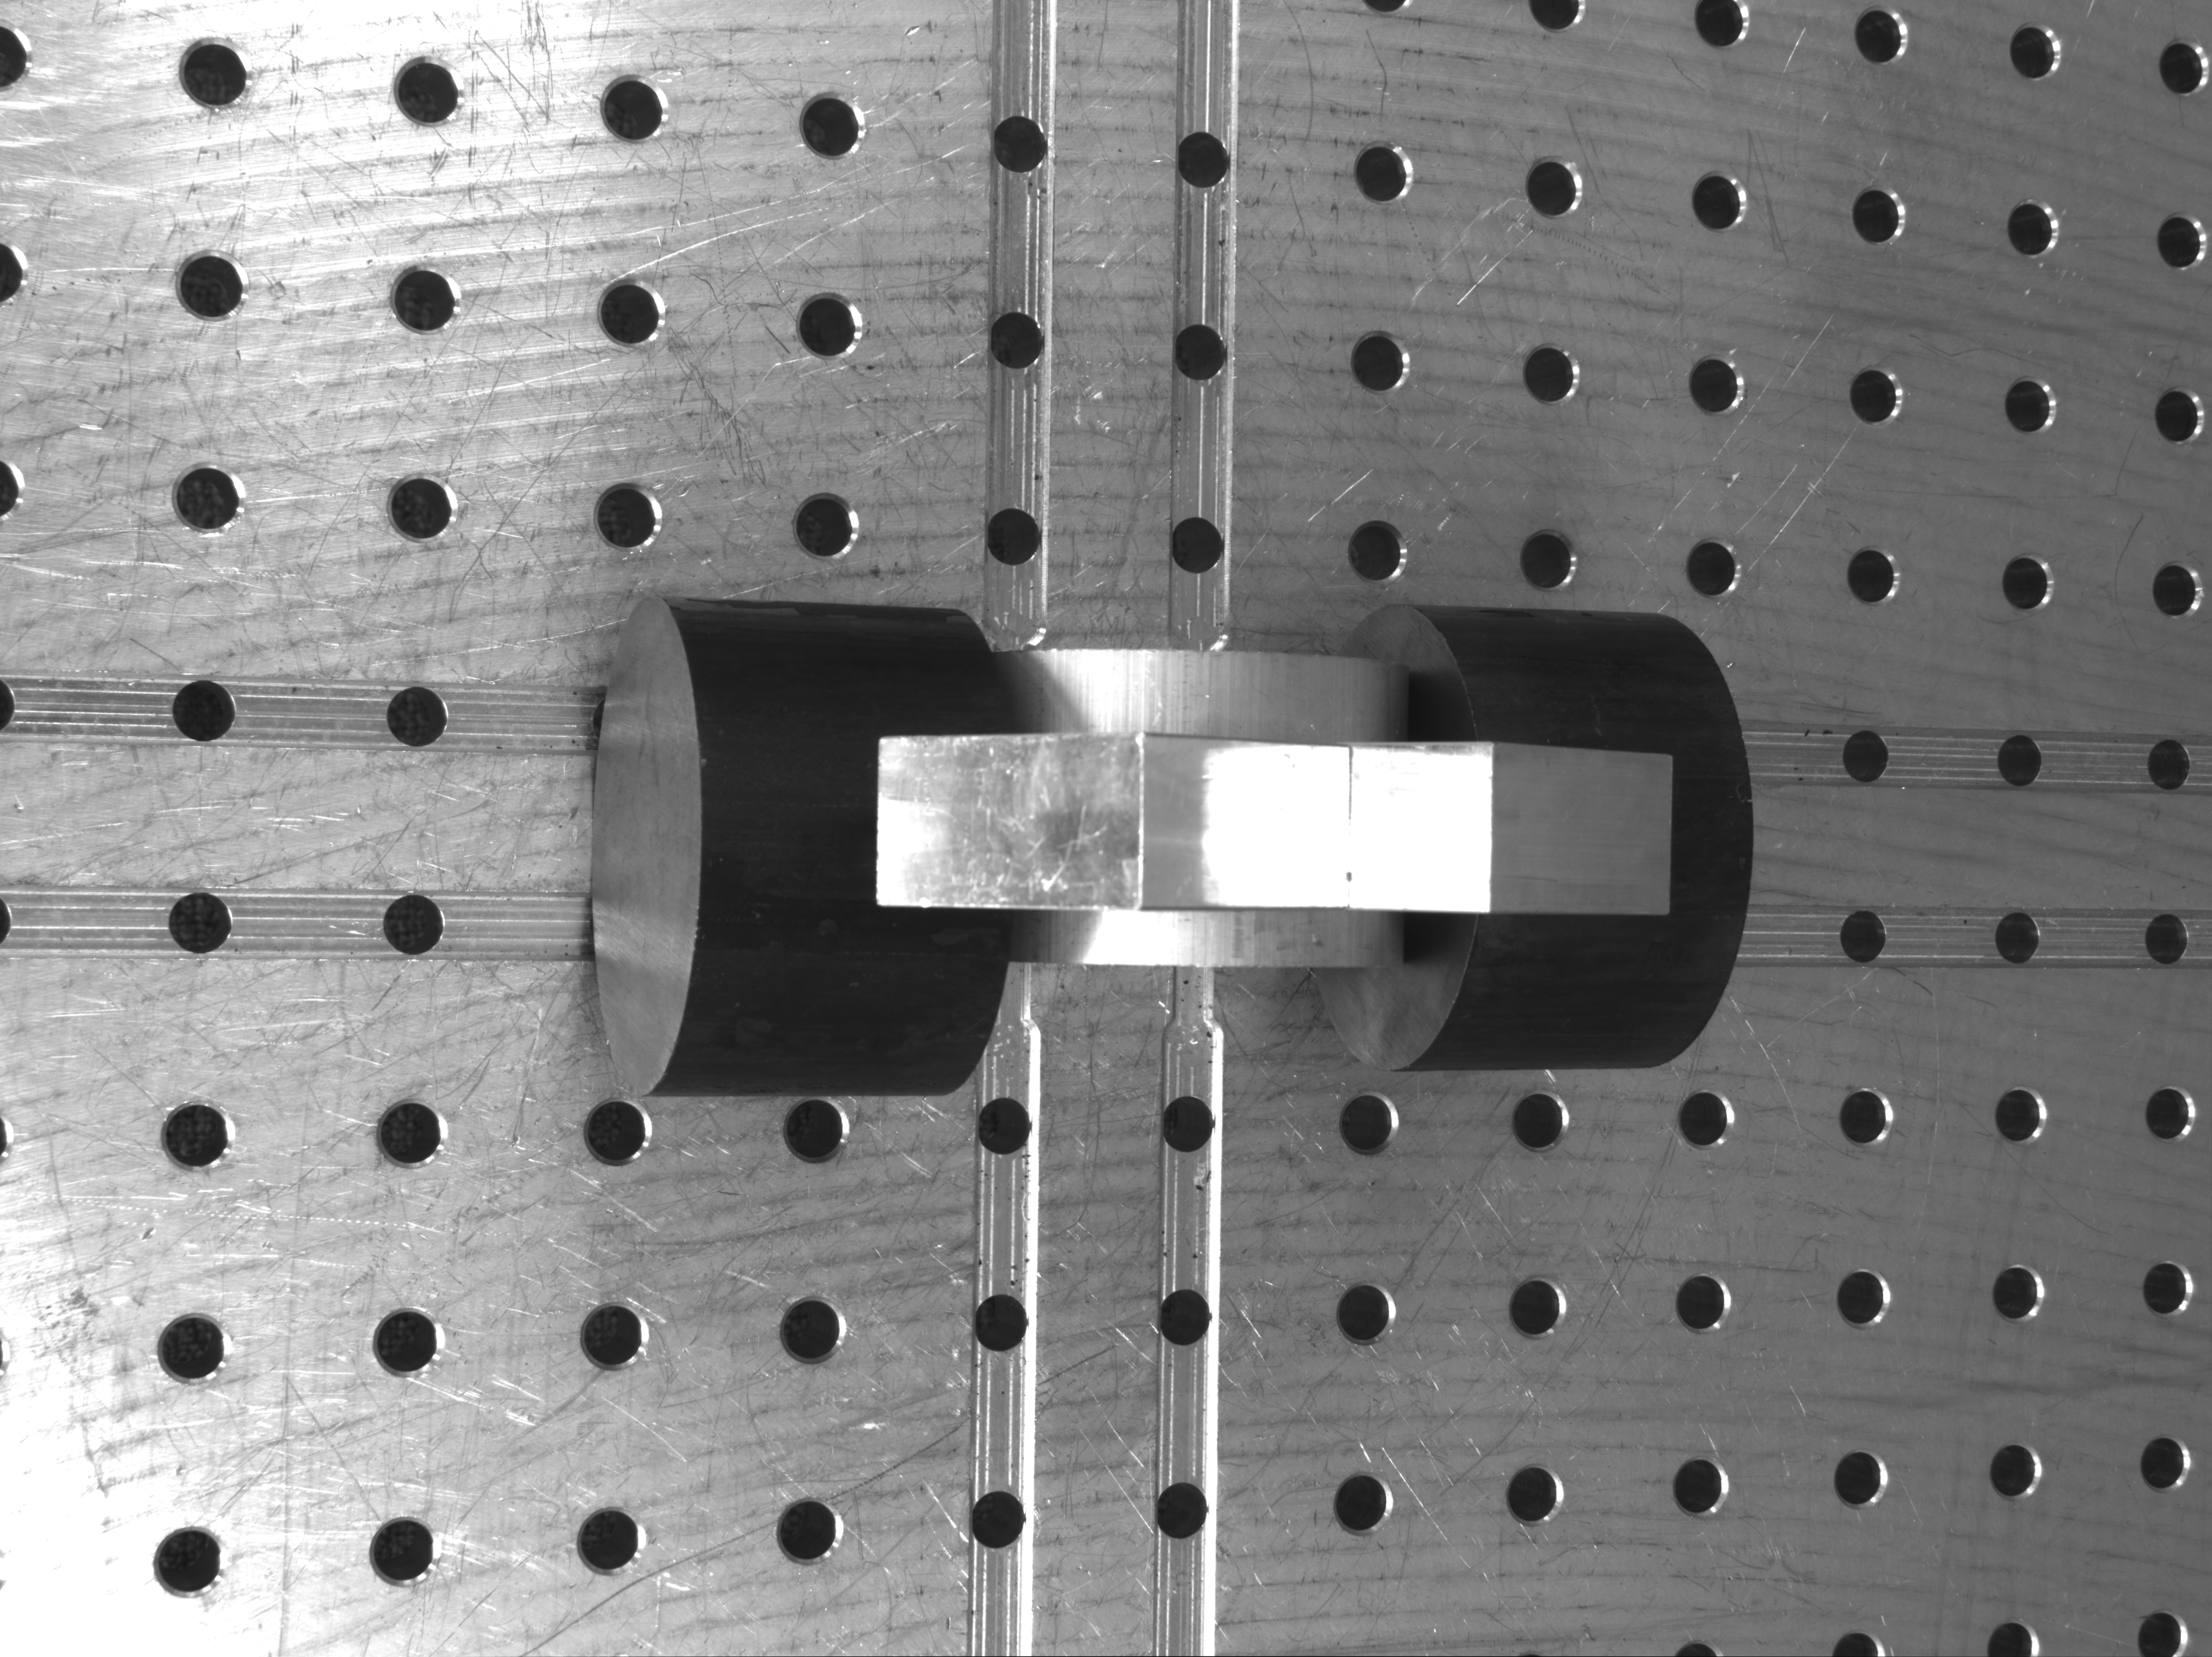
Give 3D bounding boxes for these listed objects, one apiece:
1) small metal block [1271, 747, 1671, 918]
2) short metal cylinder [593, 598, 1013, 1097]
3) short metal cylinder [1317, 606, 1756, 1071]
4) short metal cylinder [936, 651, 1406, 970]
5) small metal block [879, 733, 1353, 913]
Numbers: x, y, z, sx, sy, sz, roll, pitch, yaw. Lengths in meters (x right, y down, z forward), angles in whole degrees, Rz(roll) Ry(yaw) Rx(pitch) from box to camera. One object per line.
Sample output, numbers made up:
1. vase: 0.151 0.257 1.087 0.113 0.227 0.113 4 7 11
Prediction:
1. small metal block: 0.053 0.001 0.570 0.050 0.050 0.025 1 89 -50
2. short metal cylinder: -0.051 0.004 0.598 0.050 0.080 0.080 1 89 -19
3. short metal cylinder: 0.072 0.002 0.642 0.050 0.080 0.080 1 90 -19
4. short metal cylinder: 0.011 -0.003 0.620 0.080 0.080 0.050 1 89 -20
5. small metal block: 0.002 -0.001 0.547 0.050 0.050 0.025 1 89 -51
